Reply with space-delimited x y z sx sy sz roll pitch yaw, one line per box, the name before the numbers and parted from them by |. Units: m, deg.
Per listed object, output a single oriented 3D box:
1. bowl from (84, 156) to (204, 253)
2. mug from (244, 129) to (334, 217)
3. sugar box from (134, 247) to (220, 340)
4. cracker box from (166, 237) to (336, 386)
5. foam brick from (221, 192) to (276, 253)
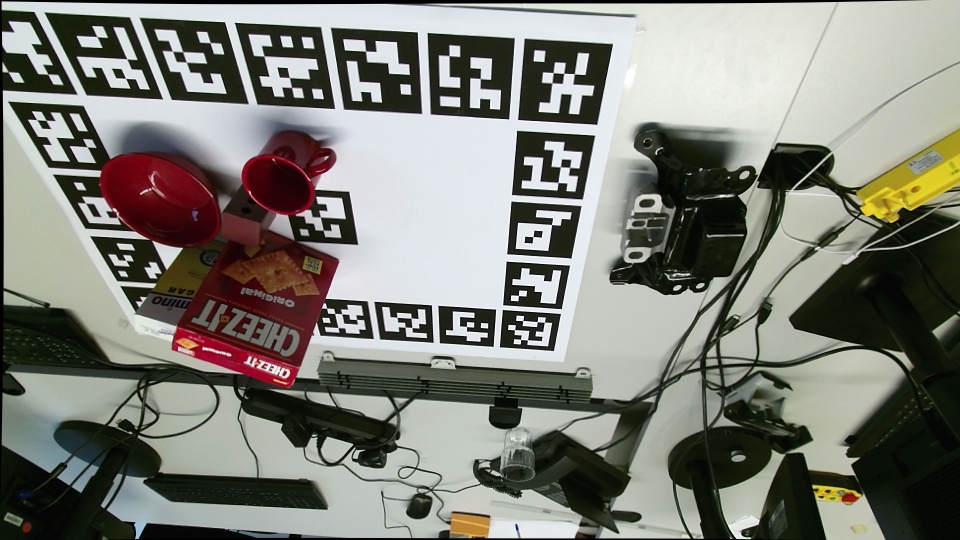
bowl | -0.458 -0.101 0.758 0.162 0.055 0.162 2 130 2
mug | -0.251 -0.132 0.709 0.117 0.081 0.093 -5 139 6
sugar box | -0.437 0.043 0.816 0.093 0.175 0.045 19 130 -13
cracker box | -0.326 0.050 0.792 0.165 0.212 0.072 26 130 -17
foam brick | -0.336 -0.073 0.779 0.053 0.077 0.051 14 131 -10
